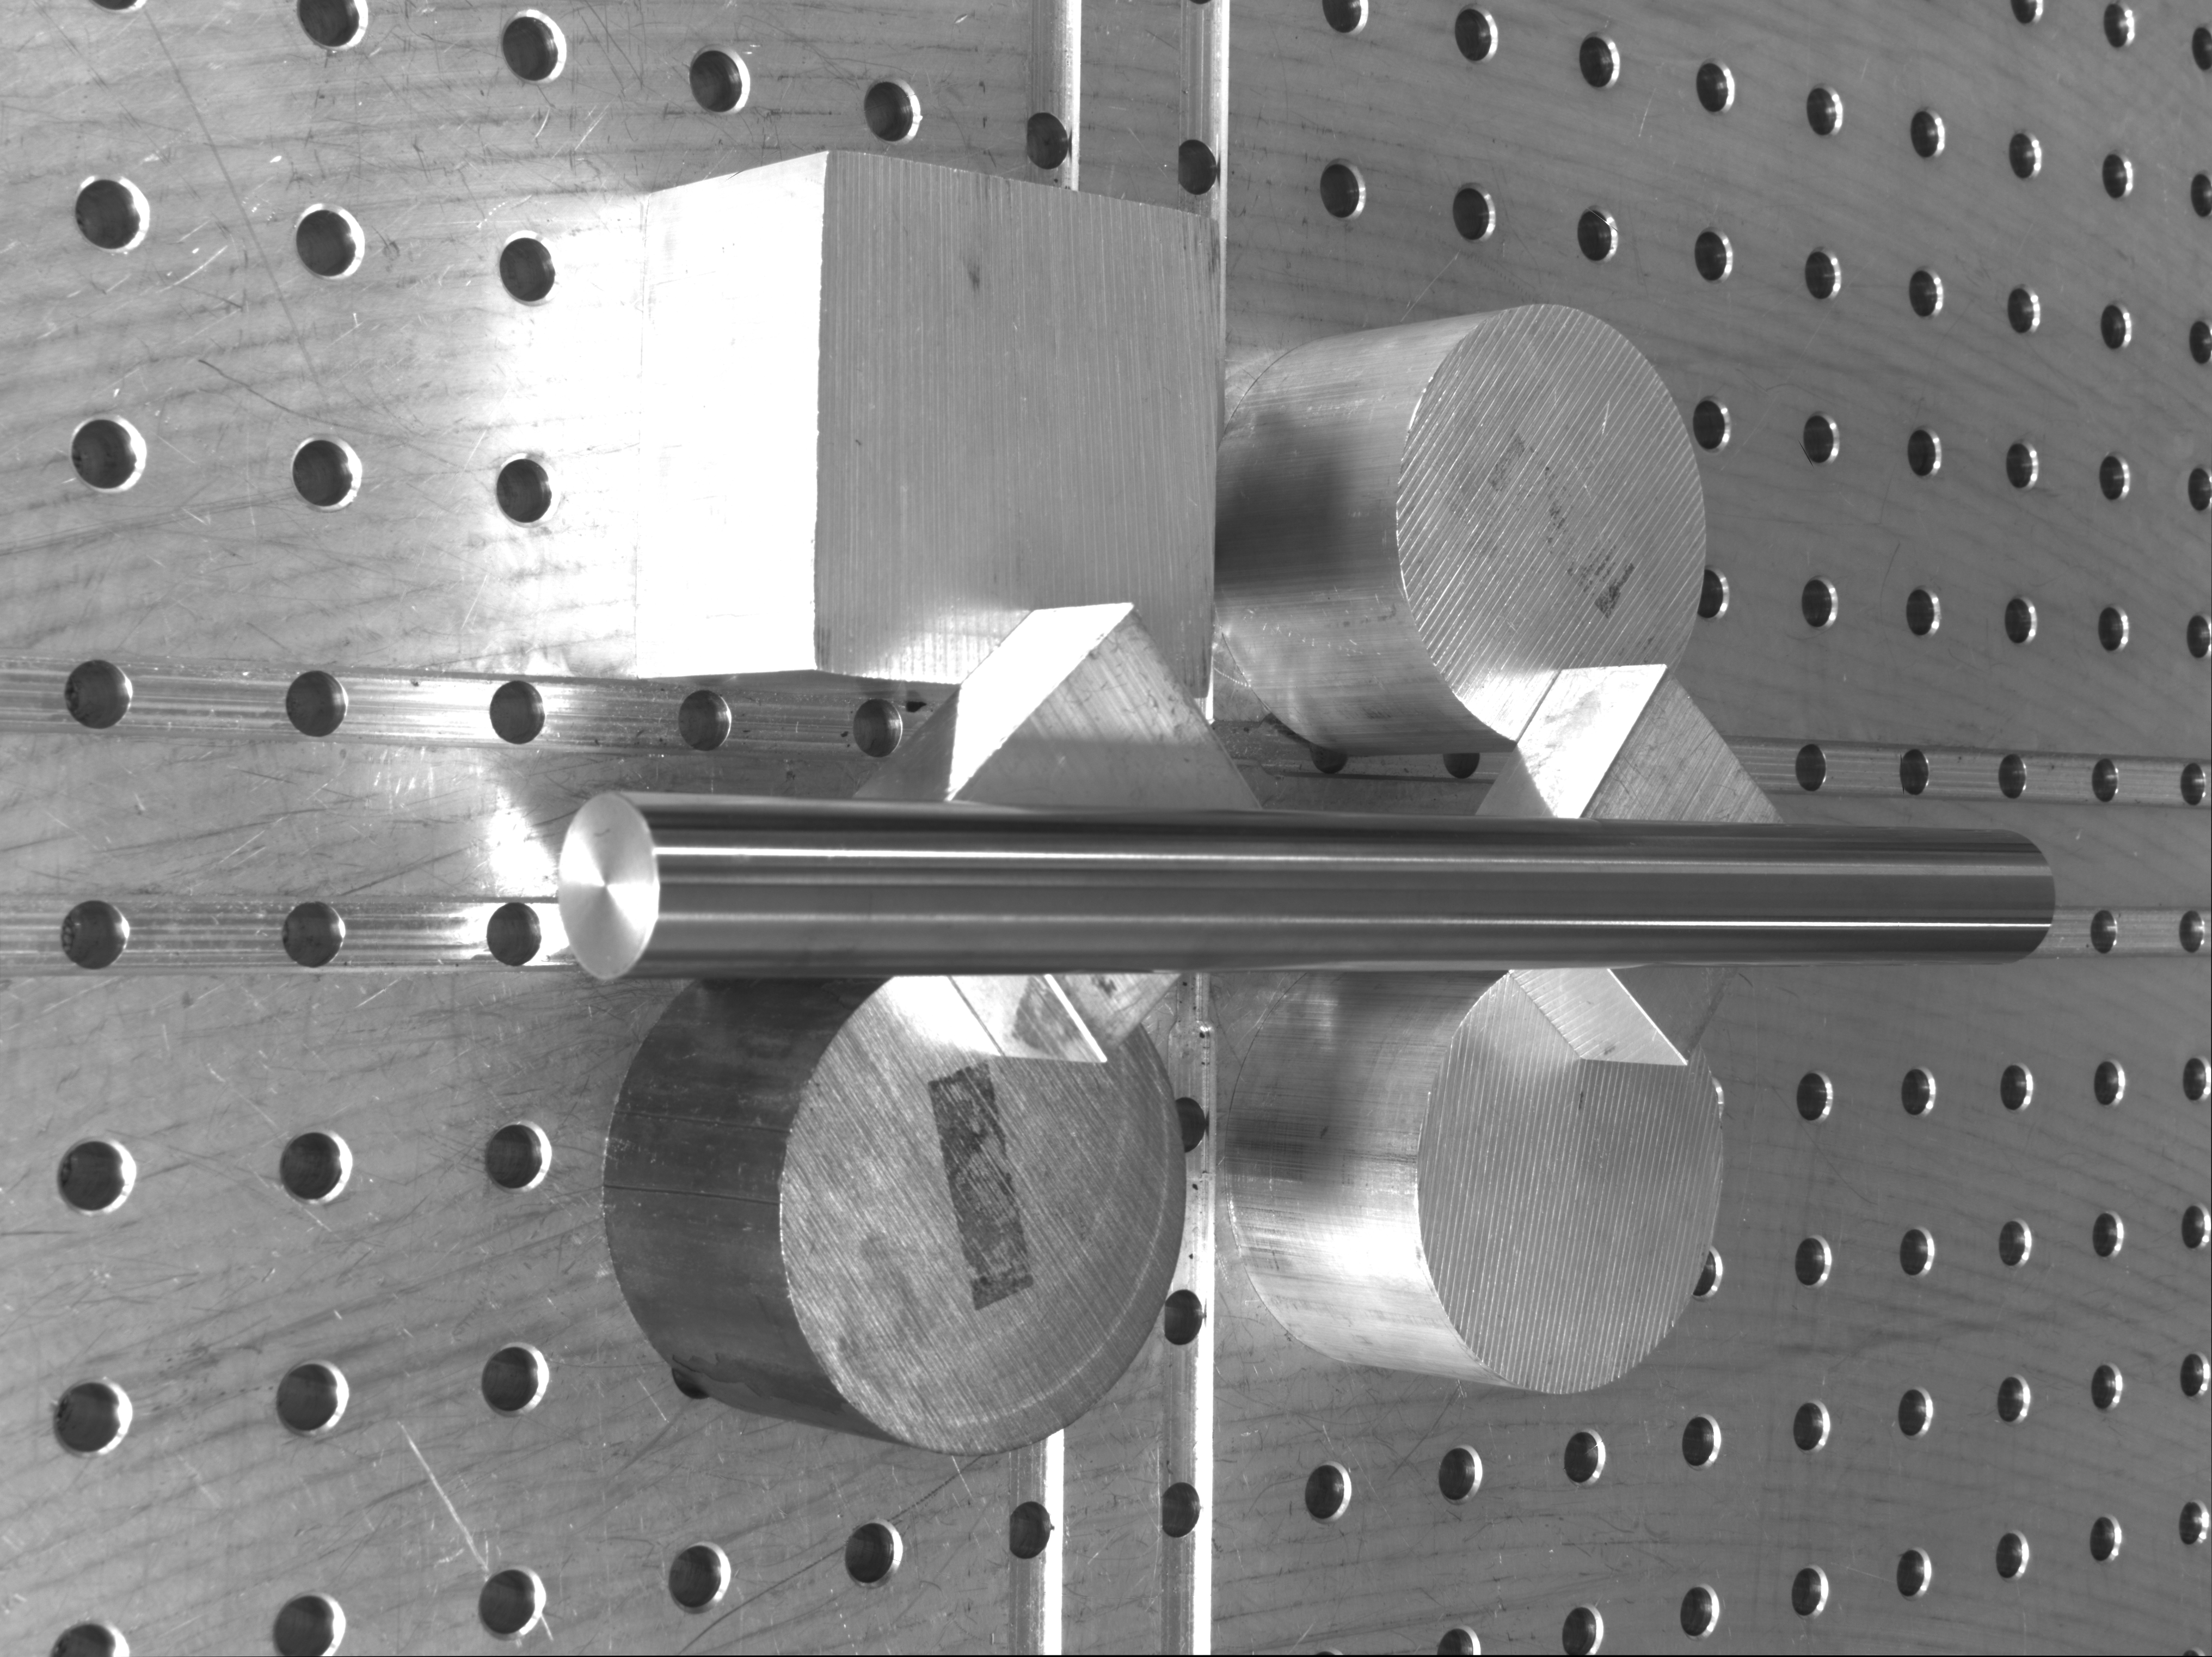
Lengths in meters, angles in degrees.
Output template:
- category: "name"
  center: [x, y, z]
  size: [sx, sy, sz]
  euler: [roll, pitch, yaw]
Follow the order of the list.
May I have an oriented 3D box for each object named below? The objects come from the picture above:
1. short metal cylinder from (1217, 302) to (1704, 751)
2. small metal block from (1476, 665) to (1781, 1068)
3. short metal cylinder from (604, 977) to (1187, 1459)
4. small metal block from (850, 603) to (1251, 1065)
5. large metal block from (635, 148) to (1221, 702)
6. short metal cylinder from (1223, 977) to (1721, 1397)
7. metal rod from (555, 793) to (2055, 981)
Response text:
- category: "short metal cylinder"
  center: [0.065, -0.054, 0.676]
  size: [0.080, 0.050, 0.080]
  euler: [0, 90, -40]
- category: "small metal block"
  center: [0.091, 0.007, 0.650]
  size: [0.050, 0.025, 0.050]
  euler: [48, 62, -29]
- category: "short metal cylinder"
  center: [-0.034, 0.059, 0.593]
  size: [0.080, 0.050, 0.080]
  euler: [0, 90, -40]
- category: "small metal block"
  center: [-0.007, 0.001, 0.569]
  size: [0.050, 0.025, 0.050]
  euler: [-47, 118, -29]
- category: "large metal block"
  center: [-0.028, -0.062, 0.598]
  size: [0.080, 0.050, 0.080]
  euler: [2, 89, -40]
- category: "short metal cylinder"
  center: [0.068, 0.062, 0.679]
  size: [0.080, 0.050, 0.080]
  euler: [0, 90, -40]
- category: "metal rod"
  center: [0.049, 0.010, 0.582]
  size: [0.301, 0.025, 0.025]
  euler: [1, 89, -40]
